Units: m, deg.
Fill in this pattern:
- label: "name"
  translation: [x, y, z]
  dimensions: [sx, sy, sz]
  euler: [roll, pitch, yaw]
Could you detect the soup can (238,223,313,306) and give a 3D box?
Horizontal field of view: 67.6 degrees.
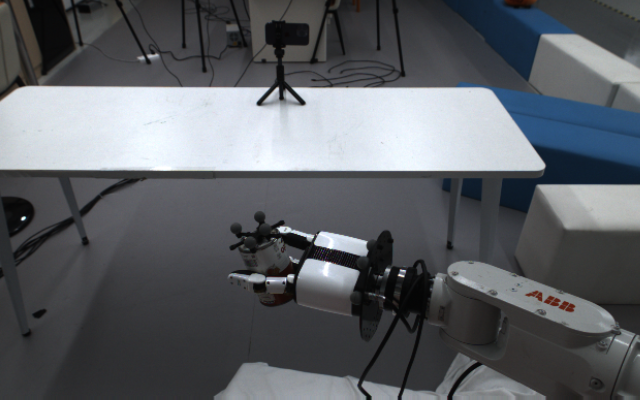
- label: "soup can"
  translation: [-0.074, 0.102, 0.731]
  dimensions: [0.067, 0.101, 0.067]
  euler: [-16, 23, 7]
